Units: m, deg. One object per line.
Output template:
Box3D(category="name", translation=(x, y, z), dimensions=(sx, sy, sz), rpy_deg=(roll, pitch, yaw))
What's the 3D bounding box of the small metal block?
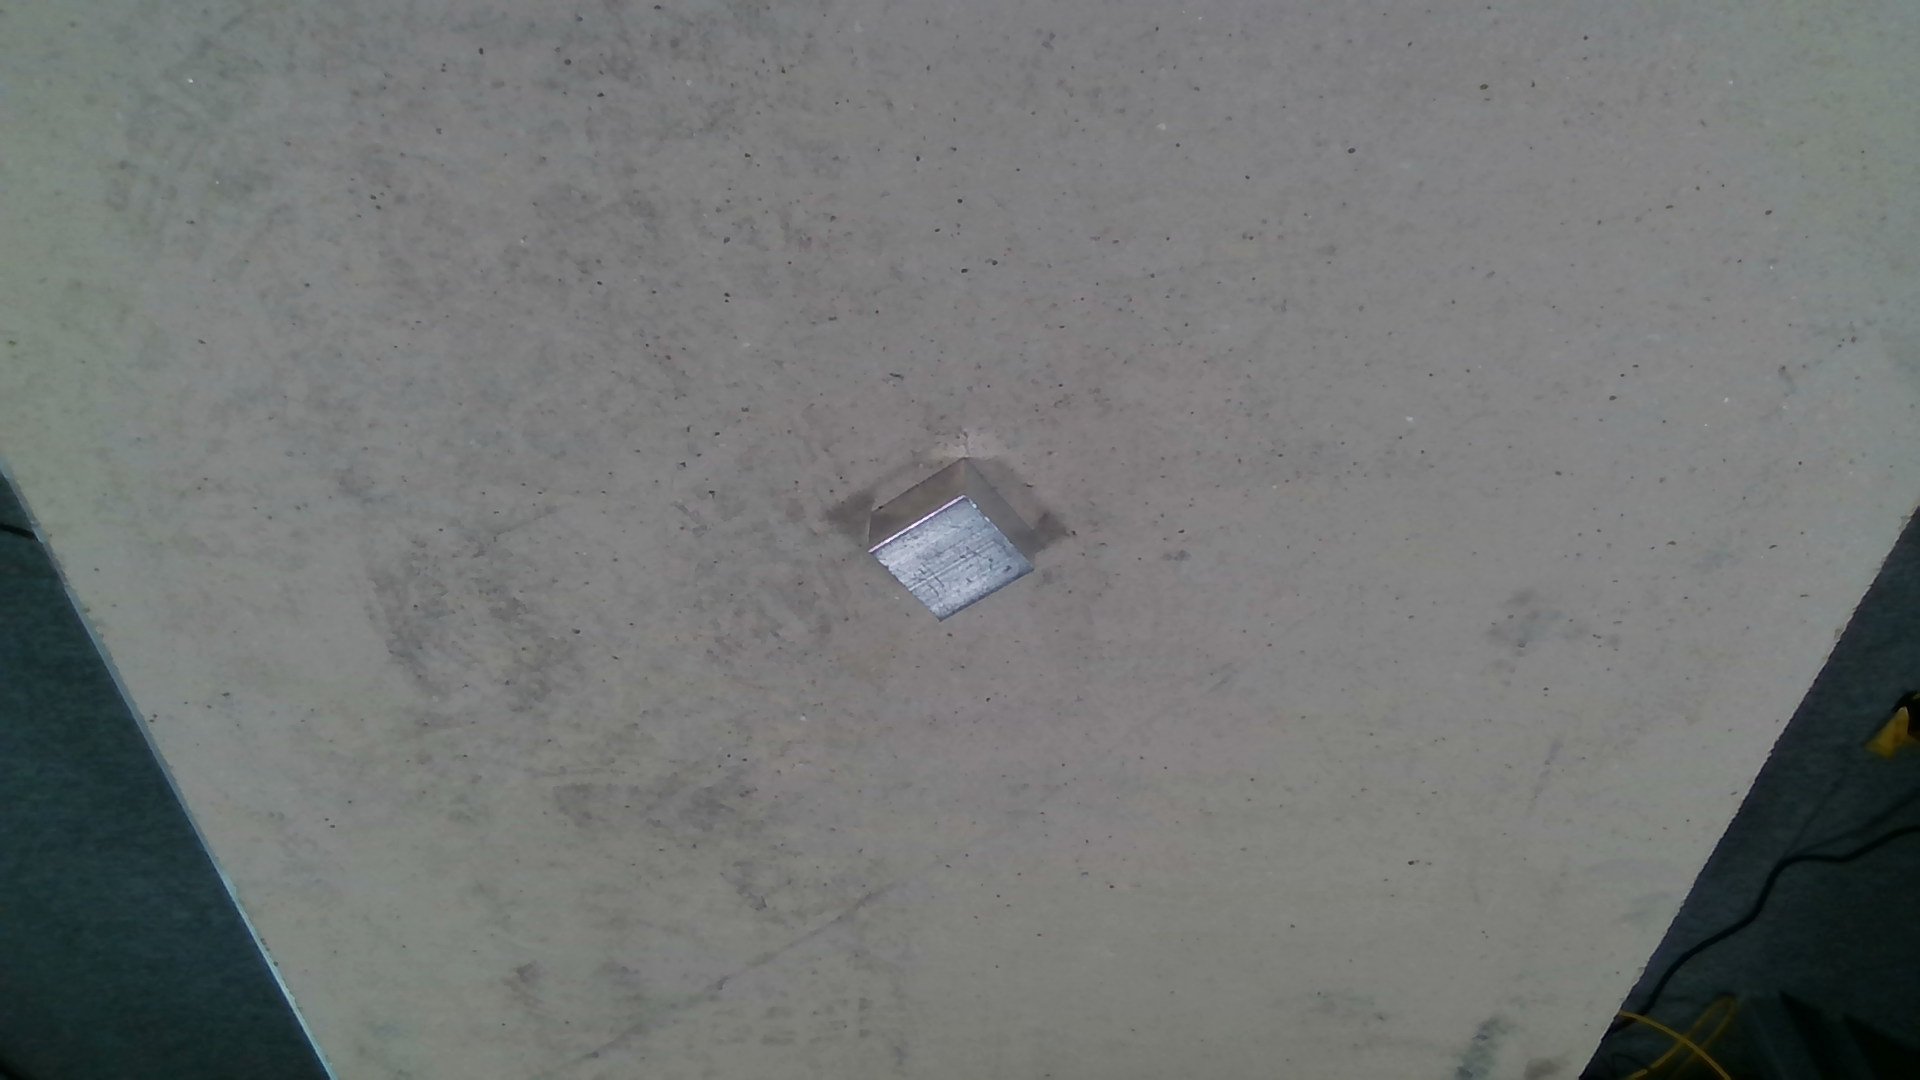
Box3D(category="small metal block", translation=(-0.004, 0.001, 0.580), dimensions=(0.050, 0.025, 0.050), rpy_deg=(-30, 124, 23))
